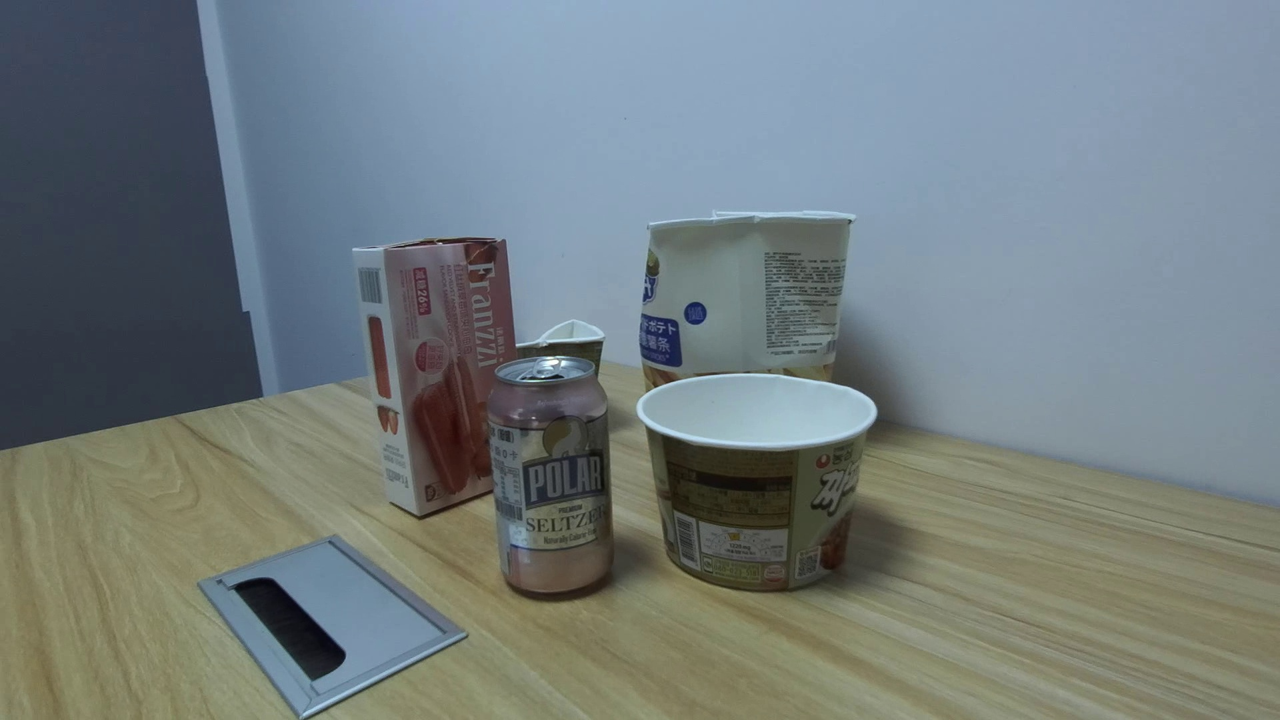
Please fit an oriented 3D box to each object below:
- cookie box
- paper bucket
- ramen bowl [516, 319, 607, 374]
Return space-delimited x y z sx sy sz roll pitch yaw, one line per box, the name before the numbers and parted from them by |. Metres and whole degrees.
cookie box | -0.138 0.006 0.517 0.048 0.187 0.105 10 18 42
paper bucket | 0.079 -0.026 0.600 0.169 0.202 0.162 -1 13 -8
ramen bowl | -0.100 0.020 0.652 0.129 0.093 0.111 -7 15 -23
